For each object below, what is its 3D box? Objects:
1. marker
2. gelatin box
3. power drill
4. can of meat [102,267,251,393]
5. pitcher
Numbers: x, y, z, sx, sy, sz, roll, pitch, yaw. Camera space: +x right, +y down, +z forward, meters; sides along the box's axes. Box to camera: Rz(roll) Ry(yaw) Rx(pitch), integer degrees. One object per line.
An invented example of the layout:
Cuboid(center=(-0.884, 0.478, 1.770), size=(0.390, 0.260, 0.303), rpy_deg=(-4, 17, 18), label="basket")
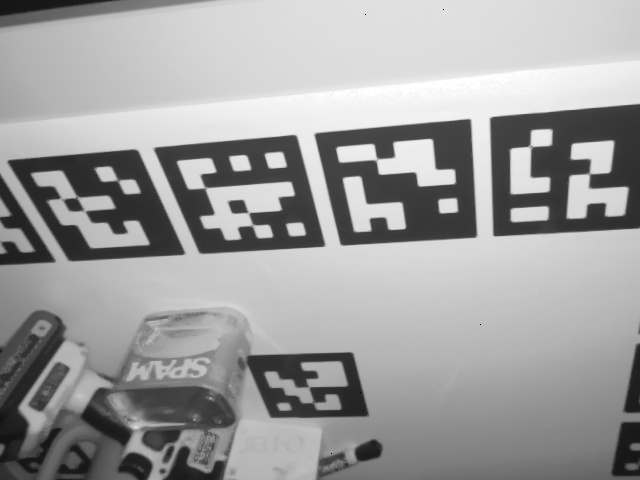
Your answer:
Cuboid(center=(0.012, 0.213, 0.698), size=(0.119, 0.020, 0.020), rpy_deg=(-28, 119, 24), label="marker")
Cuboid(center=(-0.053, 0.190, 0.656), size=(0.089, 0.074, 0.030), rpy_deg=(6, 125, 5), label="gelatin box")
Cuboid(center=(-0.171, 0.154, 0.570), size=(0.187, 0.187, 0.056), rpy_deg=(27, 124, -7), label="power drill")
Cuboid(center=(-0.111, 0.070, 0.556), size=(0.101, 0.084, 0.057), rpy_deg=(-4, 129, 11), label="can of meat")
Cuboid(center=(-0.203, 0.251, 0.622), size=(0.190, 0.244, 0.131), rpy_deg=(18, 125, -15), label="pitcher")
